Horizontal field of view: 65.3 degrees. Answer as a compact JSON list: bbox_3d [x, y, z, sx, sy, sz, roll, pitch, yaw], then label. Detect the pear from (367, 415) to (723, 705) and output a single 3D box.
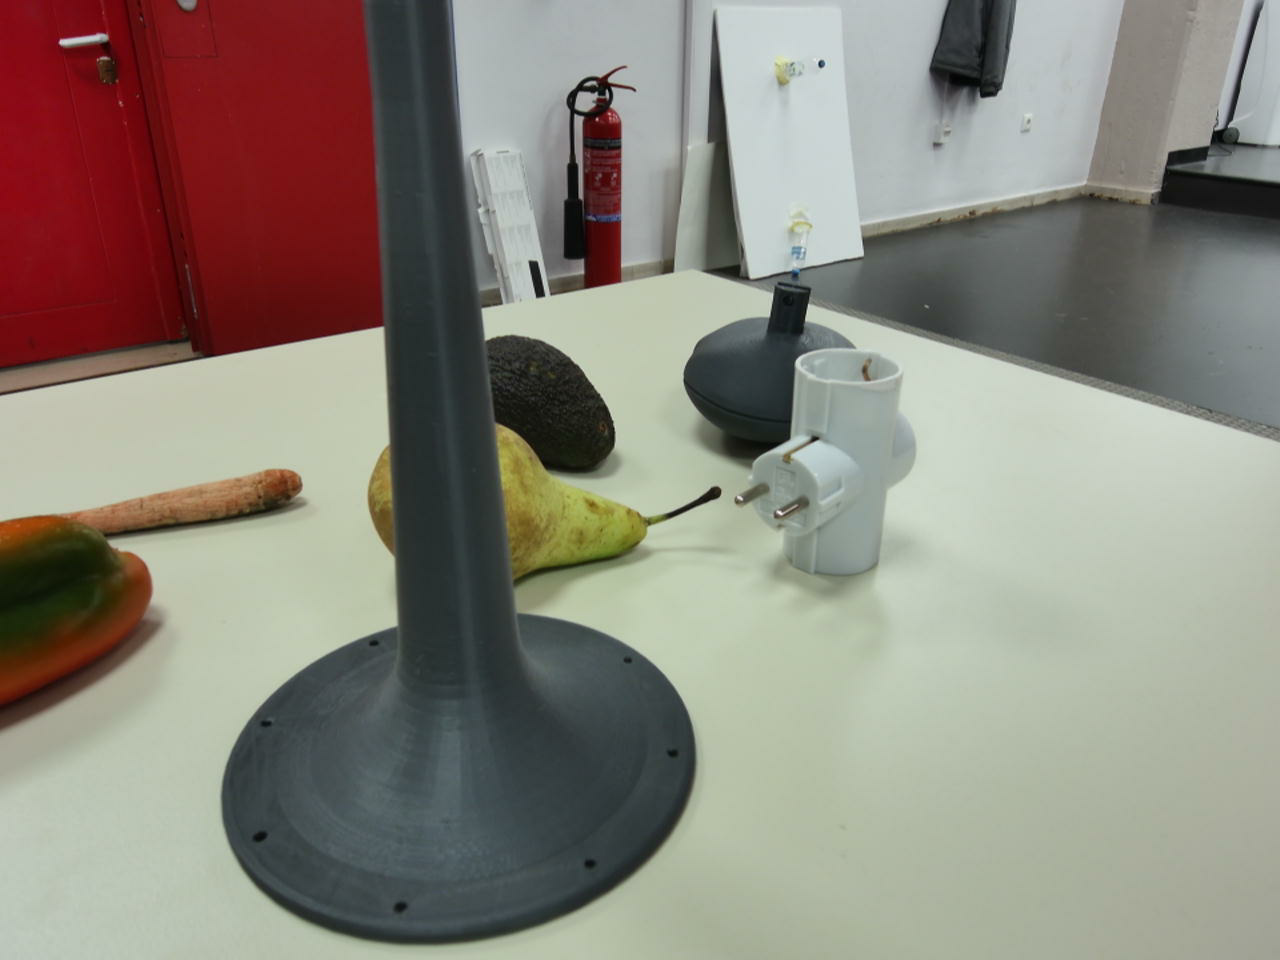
[{"bbox_3d":[-0.044,0.003,0.427,0.144,0.075,0.071,-15,27,-29],"label":"pear"}]
